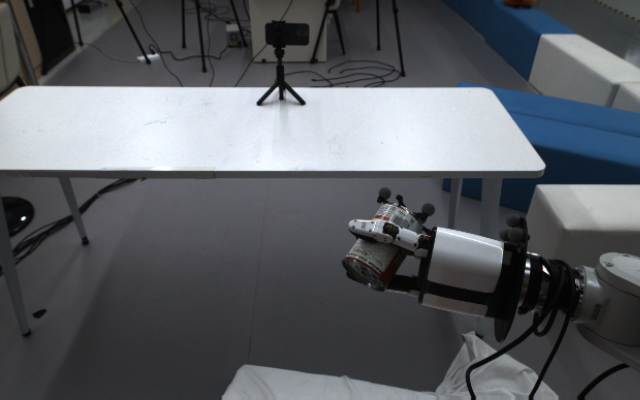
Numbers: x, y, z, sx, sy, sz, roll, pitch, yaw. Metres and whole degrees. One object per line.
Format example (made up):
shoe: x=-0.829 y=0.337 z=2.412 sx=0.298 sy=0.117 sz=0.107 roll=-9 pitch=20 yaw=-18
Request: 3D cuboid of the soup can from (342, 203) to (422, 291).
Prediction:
soup can: x=0.086 y=0.060 z=0.650 sx=0.067 sy=0.067 sz=0.101 roll=25 pitch=67 yaw=30
